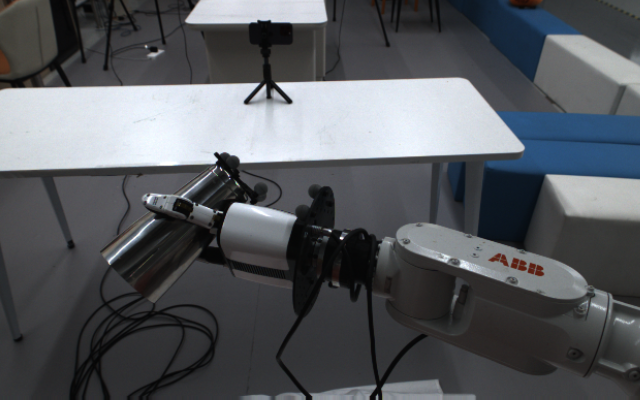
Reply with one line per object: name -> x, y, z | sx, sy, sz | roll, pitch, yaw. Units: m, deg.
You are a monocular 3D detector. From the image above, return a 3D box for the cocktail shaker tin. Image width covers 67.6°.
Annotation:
cocktail shaker tin -> -0.174, 0.032, 0.608 | 0.170, 0.093, 0.093 | -43, 50, -14
